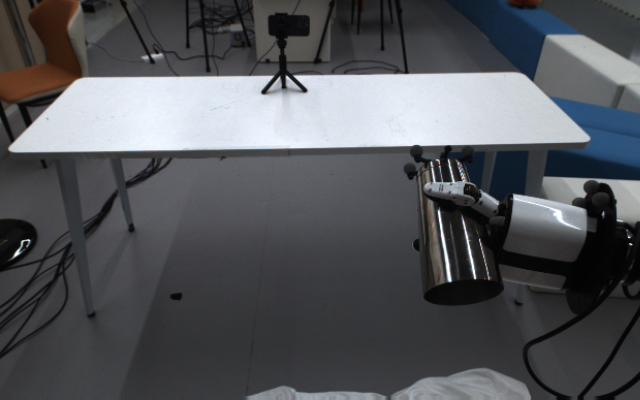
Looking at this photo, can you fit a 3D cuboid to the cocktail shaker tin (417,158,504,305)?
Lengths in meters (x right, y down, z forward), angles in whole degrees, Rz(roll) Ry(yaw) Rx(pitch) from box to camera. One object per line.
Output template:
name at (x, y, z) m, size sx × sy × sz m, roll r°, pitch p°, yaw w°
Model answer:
cocktail shaker tin at (0.164, 0.034, 0.602) m, size 0.093 × 0.093 × 0.170 m, roll 0°, pitch 59°, yaw -3°
